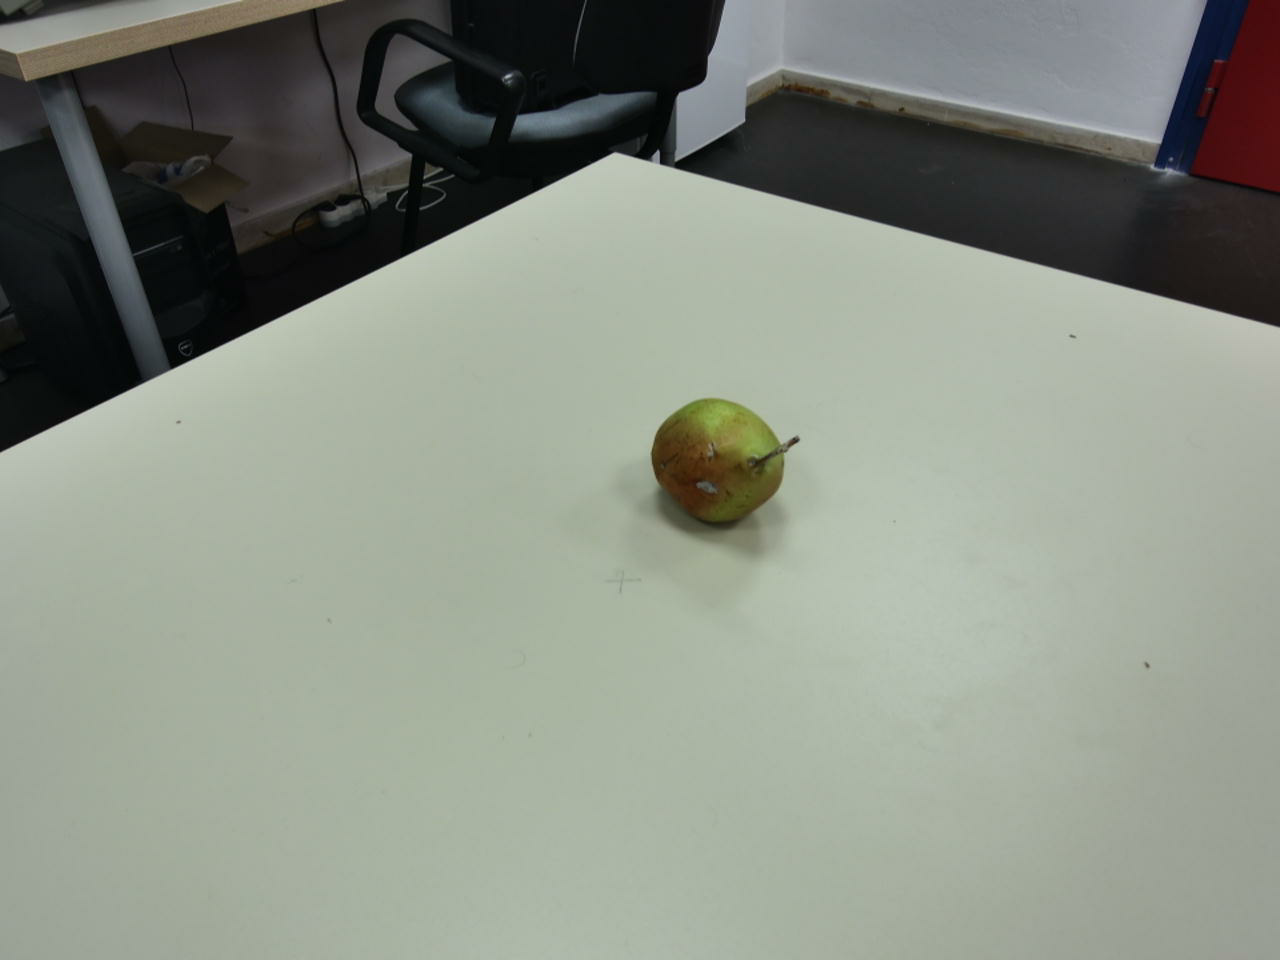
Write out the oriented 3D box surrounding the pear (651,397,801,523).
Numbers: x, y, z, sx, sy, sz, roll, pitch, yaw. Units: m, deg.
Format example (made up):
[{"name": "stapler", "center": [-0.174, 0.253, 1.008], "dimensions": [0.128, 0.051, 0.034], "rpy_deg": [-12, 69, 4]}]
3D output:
[{"name": "pear", "center": [0.040, -0.012, 0.515], "dimensions": [0.068, 0.069, 0.070], "rpy_deg": [0, 37, 0]}]
